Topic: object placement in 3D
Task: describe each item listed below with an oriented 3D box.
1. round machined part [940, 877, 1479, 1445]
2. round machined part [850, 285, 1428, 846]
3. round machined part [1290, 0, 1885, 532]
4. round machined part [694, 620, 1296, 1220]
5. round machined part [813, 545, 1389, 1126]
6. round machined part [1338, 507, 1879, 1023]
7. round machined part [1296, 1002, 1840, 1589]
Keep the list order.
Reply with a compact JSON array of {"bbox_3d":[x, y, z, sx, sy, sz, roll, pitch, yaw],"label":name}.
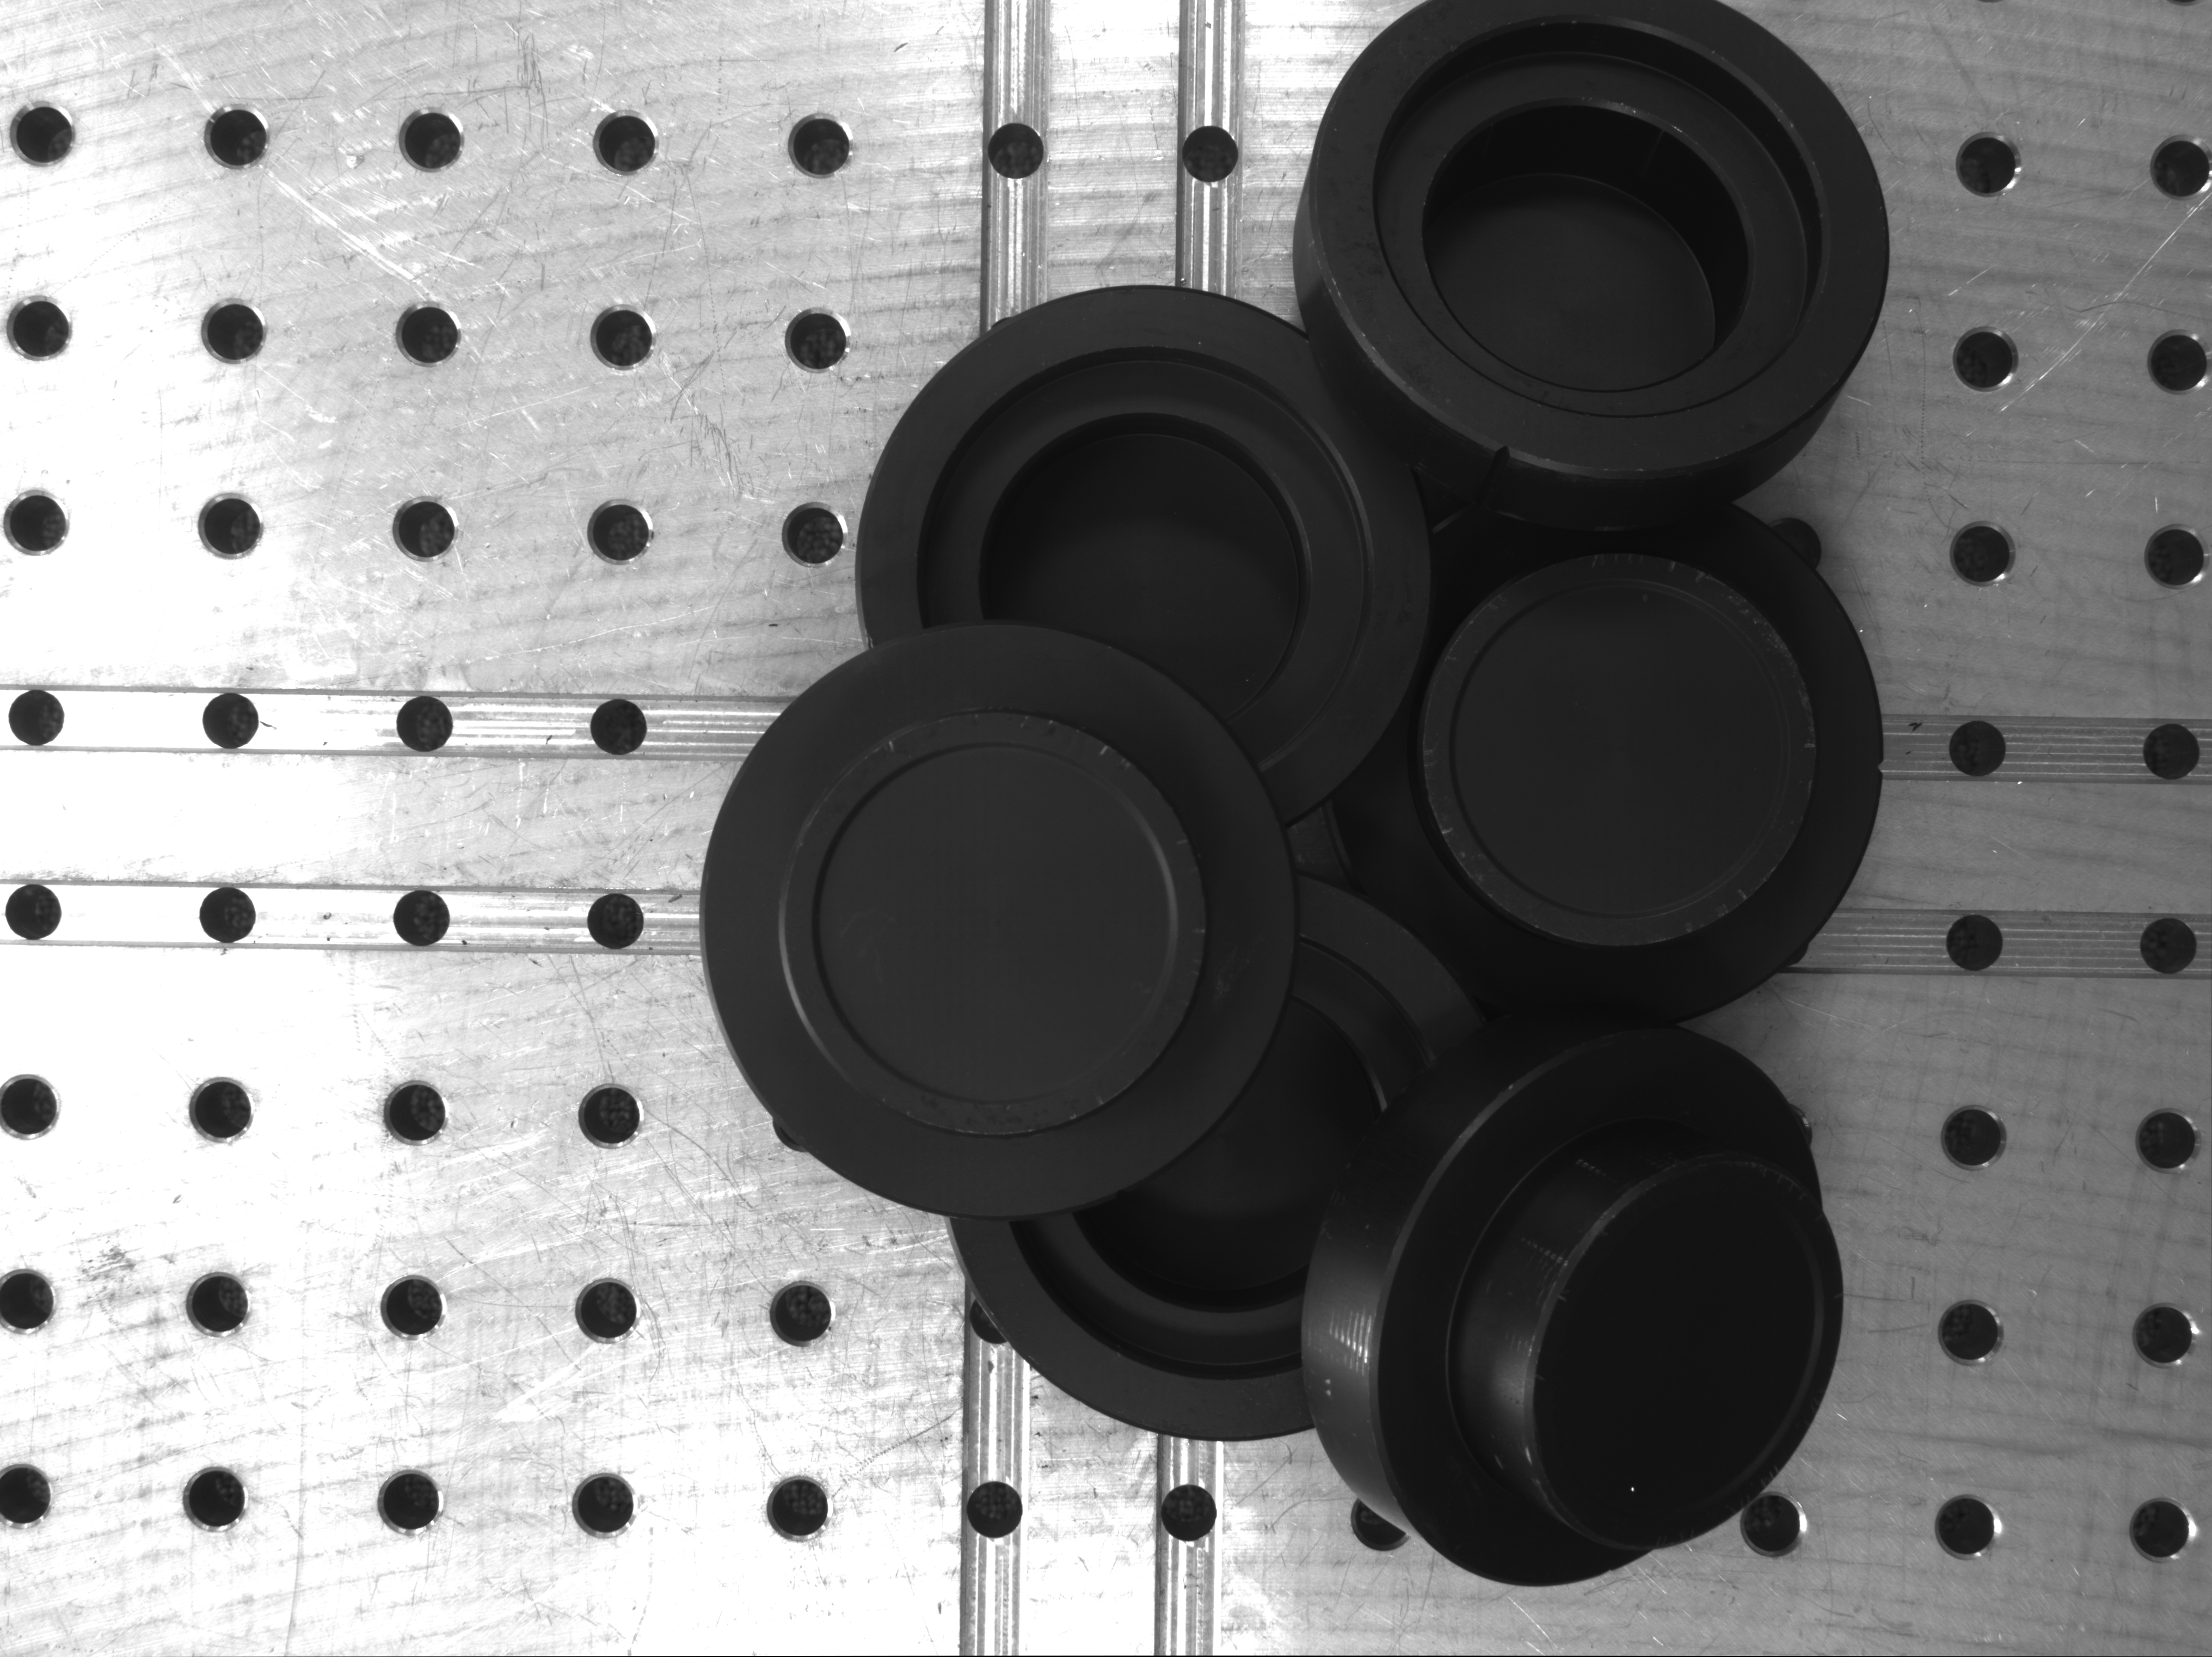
[{"bbox_3d":[0.020,0.055,0.640,0.098,0.042,0.098,0,90,0],"label":"round machined part"},{"bbox_3d":[0.006,-0.043,0.640,0.098,0.042,0.098,0,90,0],"label":"round machined part"},{"bbox_3d":[0.080,-0.095,0.629,0.098,0.042,0.098,2,69,-6],"label":"round machined part"},{"bbox_3d":[-0.018,0.015,0.597,0.098,0.042,0.098,0,90,0],"label":"round machined part"},{"bbox_3d":[-0.001,0.001,0.639,0.098,0.042,0.098,0,90,0],"label":"round machined part"},{"bbox_3d":[0.086,-0.013,0.640,0.098,0.042,0.098,0,90,0],"label":"round machined part"},{"bbox_3d":[0.084,0.082,0.615,0.098,0.042,0.098,-9,107,-31],"label":"round machined part"}]
